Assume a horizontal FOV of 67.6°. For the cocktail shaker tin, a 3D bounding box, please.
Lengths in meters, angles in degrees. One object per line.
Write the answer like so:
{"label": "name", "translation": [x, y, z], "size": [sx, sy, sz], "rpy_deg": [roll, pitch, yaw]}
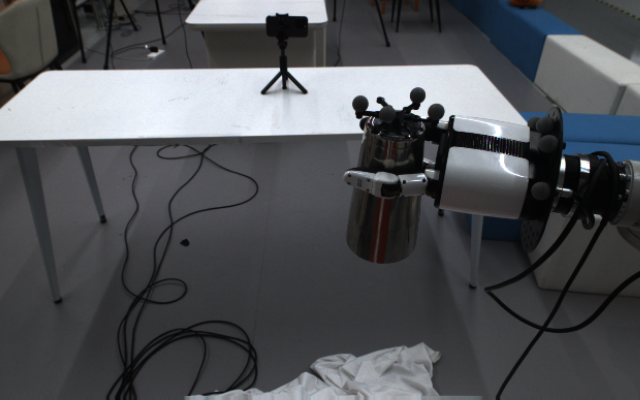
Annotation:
{"label": "cocktail shaker tin", "translation": [0.085, -0.019, 0.582], "size": [0.093, 0.170, 0.093], "rpy_deg": [1, 39, -1]}
